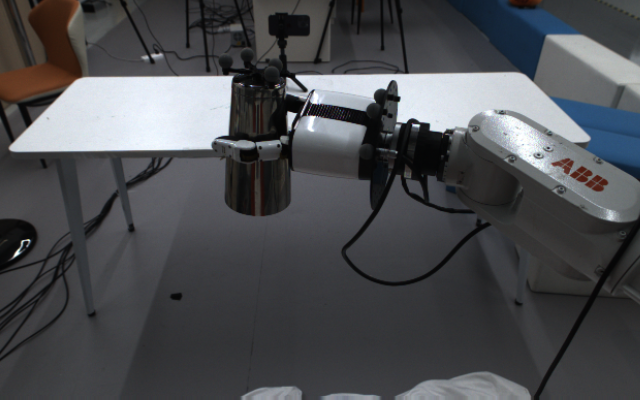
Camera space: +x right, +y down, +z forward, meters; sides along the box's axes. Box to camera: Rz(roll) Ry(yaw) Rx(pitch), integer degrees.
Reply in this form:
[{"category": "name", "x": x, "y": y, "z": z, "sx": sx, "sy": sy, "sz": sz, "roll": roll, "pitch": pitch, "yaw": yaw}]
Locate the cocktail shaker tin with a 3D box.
[{"category": "cocktail shaker tin", "x": -0.080, "y": -0.075, "z": 0.632, "sx": 0.093, "sy": 0.170, "sz": 0.093, "roll": 3, "pitch": 32, "yaw": -2}]
